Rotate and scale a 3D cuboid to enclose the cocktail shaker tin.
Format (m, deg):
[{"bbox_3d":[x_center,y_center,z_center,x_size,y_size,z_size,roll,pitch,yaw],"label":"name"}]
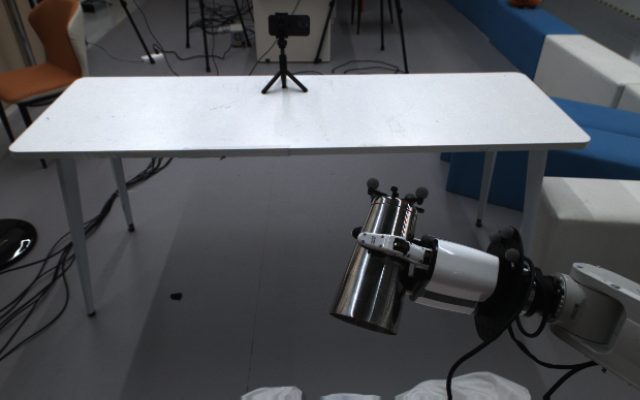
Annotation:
[{"bbox_3d":[0.079,0.084,0.652,0.093,0.093,0.170,13,70,15],"label":"cocktail shaker tin"}]
